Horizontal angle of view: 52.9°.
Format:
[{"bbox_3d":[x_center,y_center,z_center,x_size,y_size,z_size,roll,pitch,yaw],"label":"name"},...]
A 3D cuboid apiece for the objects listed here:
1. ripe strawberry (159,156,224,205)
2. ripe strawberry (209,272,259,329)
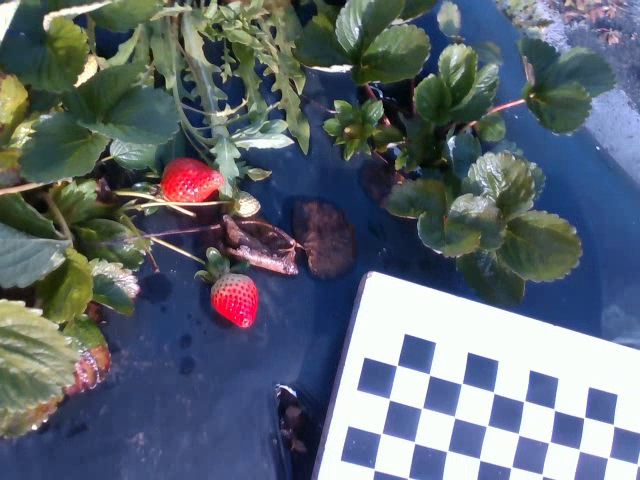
[{"bbox_3d":[-0.087,-0.043,0.436,0.048,0.040,0.031,-7,-17,30],"label":"ripe strawberry"},{"bbox_3d":[-0.056,0.041,0.424,0.035,0.043,0.030,-19,-13,-16],"label":"ripe strawberry"}]
